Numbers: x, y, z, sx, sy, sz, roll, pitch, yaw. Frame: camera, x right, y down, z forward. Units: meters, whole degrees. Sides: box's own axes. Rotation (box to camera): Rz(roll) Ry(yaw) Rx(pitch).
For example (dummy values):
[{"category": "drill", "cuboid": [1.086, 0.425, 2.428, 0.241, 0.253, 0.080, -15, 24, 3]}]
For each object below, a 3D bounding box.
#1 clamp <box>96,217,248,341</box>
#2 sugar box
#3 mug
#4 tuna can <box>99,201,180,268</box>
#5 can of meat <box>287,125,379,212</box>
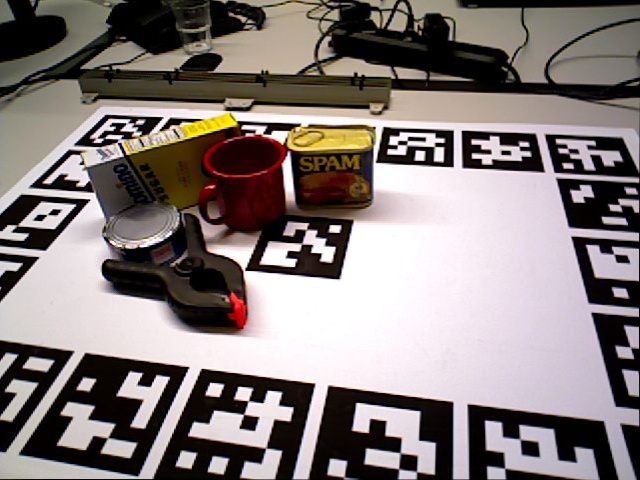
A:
[{"category": "clamp", "cuboid": [-0.129, 0.043, 0.537, 0.165, 0.037, 0.119, 34, 50, 30]}, {"category": "sugar box", "cuboid": [-0.180, -0.076, 0.633, 0.173, 0.095, 0.045, -20, 42, -20]}, {"category": "mug", "cuboid": [-0.092, -0.062, 0.604, 0.093, 0.083, 0.114, 23, 50, 27]}, {"category": "tuna can", "cuboid": [-0.196, -0.003, 0.586, 0.085, 0.034, 0.084, -3, 43, 2]}, {"category": "can of meat", "cuboid": [0.015, -0.081, 0.629, 0.101, 0.085, 0.057, 0, 40, 2]}]
